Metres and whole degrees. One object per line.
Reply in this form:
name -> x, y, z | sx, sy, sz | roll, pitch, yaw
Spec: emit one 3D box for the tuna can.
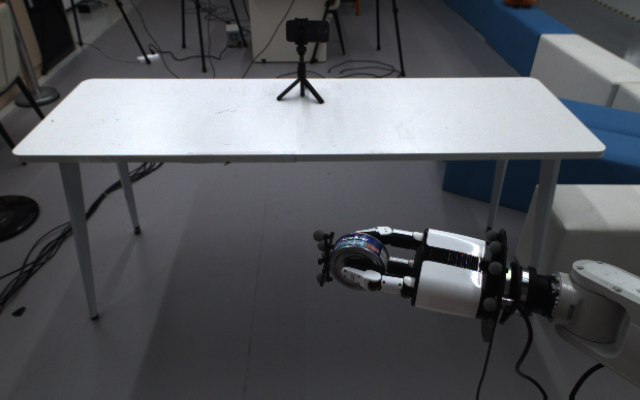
tuna can -> 0.060, 0.093, 0.711 | 0.085, 0.085, 0.034 | 9, 32, 10
